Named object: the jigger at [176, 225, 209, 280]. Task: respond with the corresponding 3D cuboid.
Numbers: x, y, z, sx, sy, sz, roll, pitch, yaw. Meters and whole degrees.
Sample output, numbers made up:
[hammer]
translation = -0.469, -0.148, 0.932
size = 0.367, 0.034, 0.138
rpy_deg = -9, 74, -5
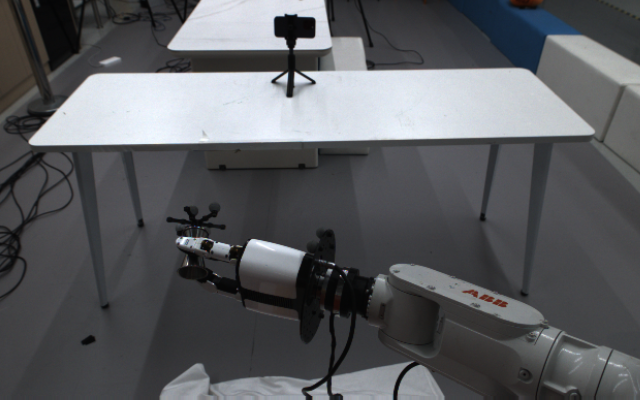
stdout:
[jigger]
translation = -0.186, 0.078, 0.717
size = 0.043, 0.043, 0.071
rpy_deg = -2, 57, -6
